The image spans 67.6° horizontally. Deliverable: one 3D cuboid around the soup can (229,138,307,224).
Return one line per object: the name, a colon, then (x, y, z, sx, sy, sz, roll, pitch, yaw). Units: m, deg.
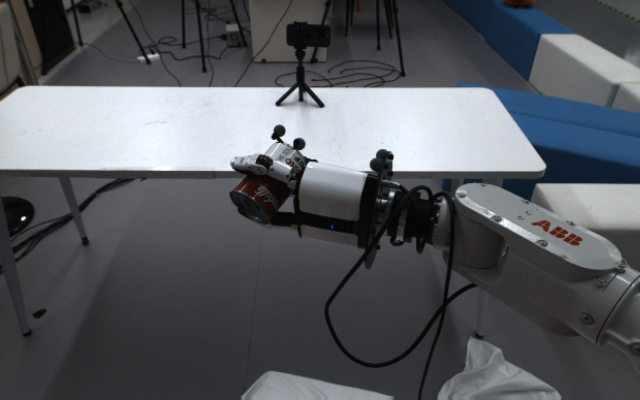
soup can: (-0.069, -0.025, 0.681, 0.067, 0.067, 0.101, 22, 60, 26)
